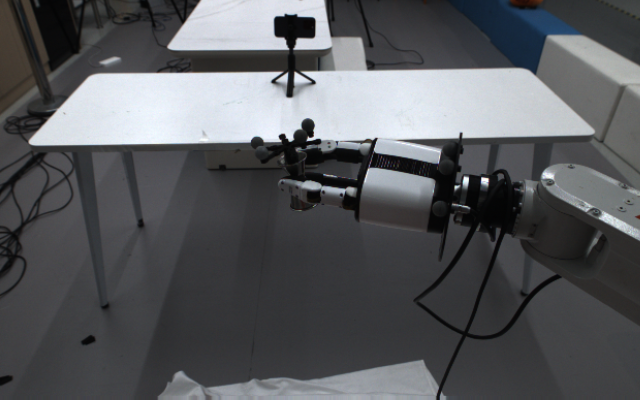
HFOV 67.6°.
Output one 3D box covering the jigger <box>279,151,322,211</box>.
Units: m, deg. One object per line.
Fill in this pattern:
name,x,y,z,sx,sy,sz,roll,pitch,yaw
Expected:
jigger,-0.027,-0.024,0.637,0.043,0.071,0.043,-12,29,7
